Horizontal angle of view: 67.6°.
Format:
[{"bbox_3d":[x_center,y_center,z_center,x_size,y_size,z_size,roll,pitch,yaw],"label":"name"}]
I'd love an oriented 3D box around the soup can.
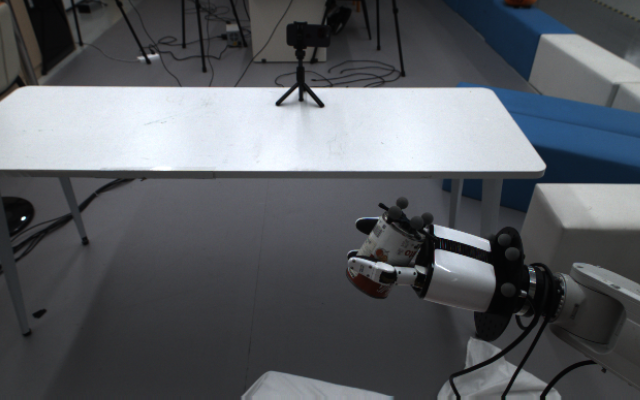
[{"bbox_3d":[0.090,0.074,0.659,0.067,0.101,0.067,27,18,-9],"label":"soup can"}]
